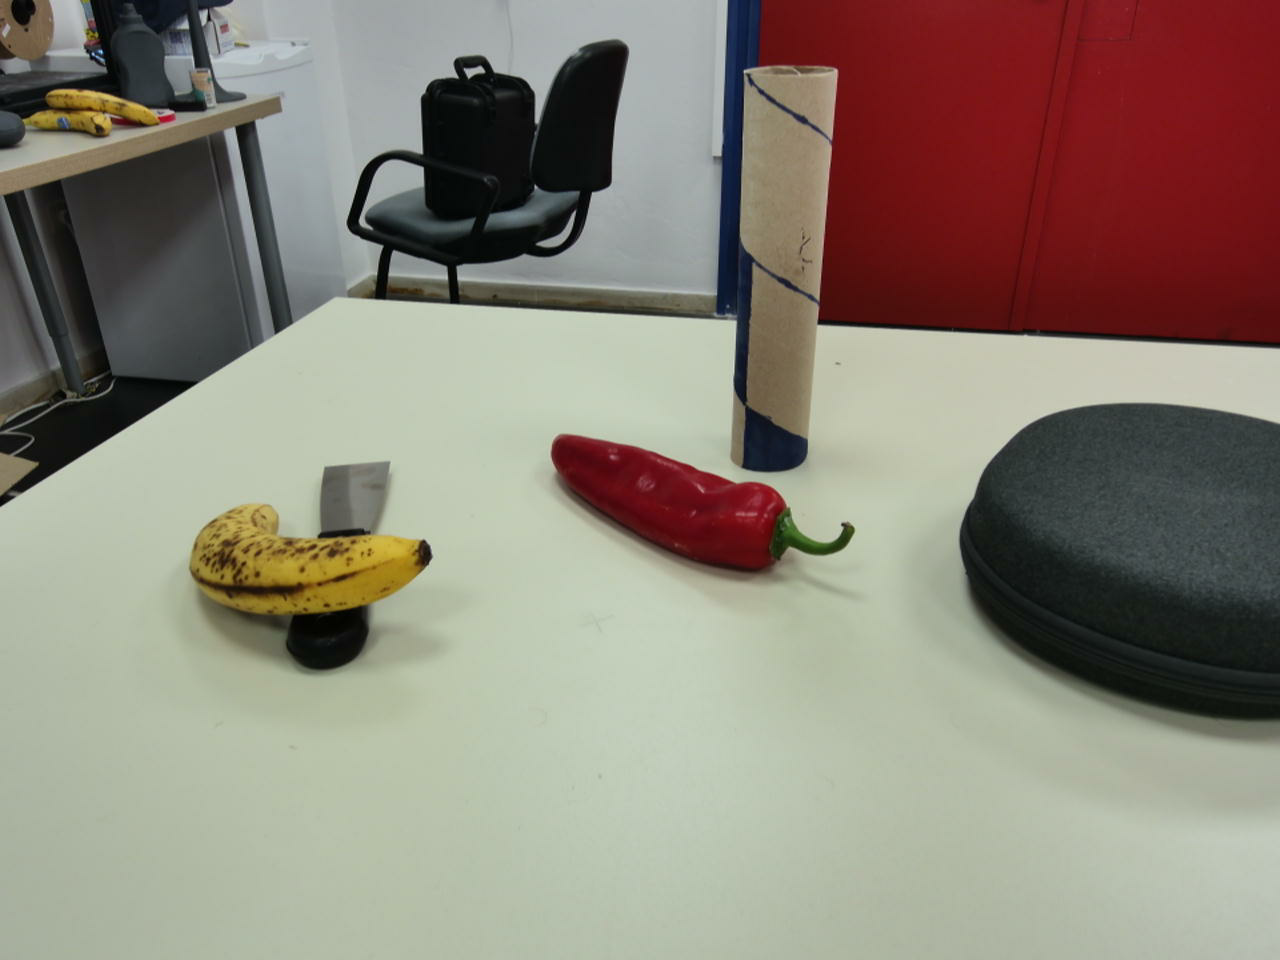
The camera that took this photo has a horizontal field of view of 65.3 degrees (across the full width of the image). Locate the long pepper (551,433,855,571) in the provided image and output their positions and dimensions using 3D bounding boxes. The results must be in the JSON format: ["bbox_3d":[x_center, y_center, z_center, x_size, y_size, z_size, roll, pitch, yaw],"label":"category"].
[{"bbox_3d":[0.018,0.009,0.538,0.211,0.043,0.050,23,34,39],"label":"long pepper"}]
